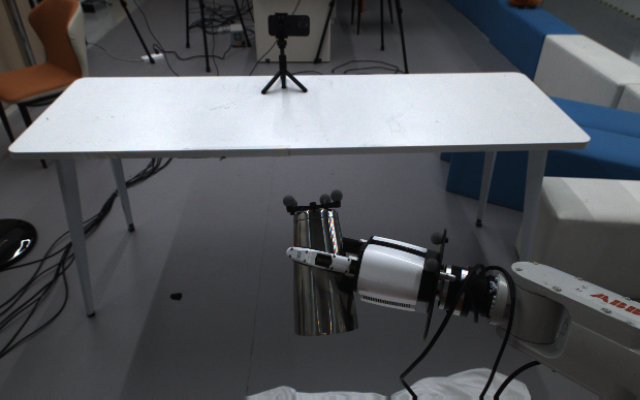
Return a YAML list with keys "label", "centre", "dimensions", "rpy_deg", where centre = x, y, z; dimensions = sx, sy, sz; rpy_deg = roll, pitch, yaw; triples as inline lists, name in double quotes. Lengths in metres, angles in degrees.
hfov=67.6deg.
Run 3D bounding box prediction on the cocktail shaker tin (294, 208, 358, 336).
- label: "cocktail shaker tin"
  centre: [0.002, 0.102, 0.701]
  dimensions: [0.093, 0.170, 0.093]
  rpy_deg: [-6, -7, -1]
